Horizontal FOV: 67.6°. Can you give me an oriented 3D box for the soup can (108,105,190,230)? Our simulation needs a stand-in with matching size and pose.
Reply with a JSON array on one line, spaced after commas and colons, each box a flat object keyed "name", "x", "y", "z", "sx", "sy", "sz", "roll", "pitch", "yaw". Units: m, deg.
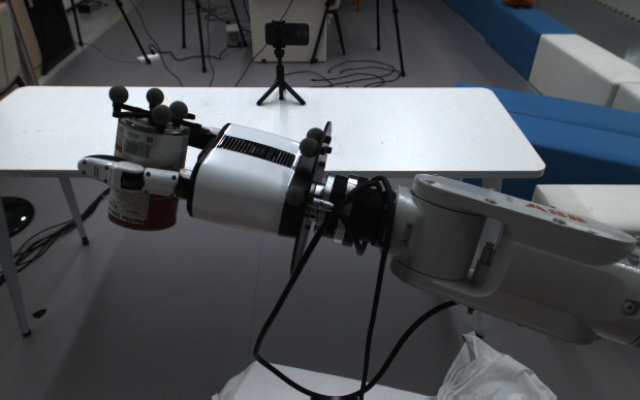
[{"name": "soup can", "x": -0.168, "y": -0.029, "z": 0.479, "sx": 0.067, "sy": 0.101, "sz": 0.067, "roll": 13, "pitch": 18, "yaw": -4}]
